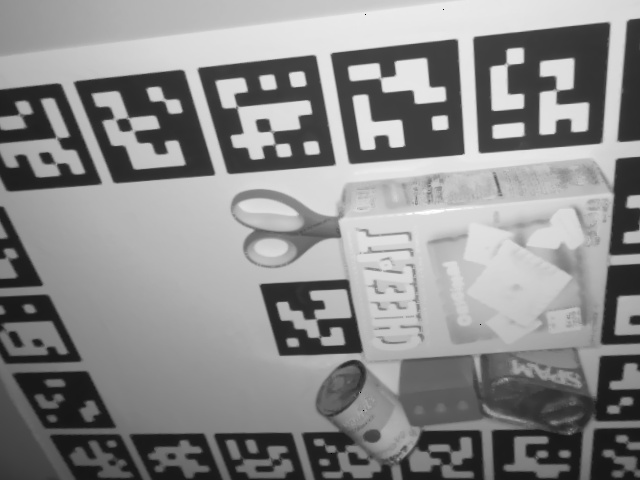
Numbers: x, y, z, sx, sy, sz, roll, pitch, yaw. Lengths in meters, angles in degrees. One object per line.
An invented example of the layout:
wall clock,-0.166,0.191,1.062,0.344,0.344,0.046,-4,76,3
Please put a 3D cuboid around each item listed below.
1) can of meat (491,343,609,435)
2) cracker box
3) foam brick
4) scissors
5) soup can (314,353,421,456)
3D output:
can of meat,0.218,0.133,0.676,0.102,0.084,0.057,11,121,2
cracker box,0.150,0.018,0.608,0.213,0.072,0.163,-8,120,8
foam brick,0.131,0.153,0.723,0.077,0.052,0.052,-11,118,14
scissors,0.037,-0.025,0.635,0.202,0.016,0.087,-6,119,11
soup can,0.053,0.178,0.747,0.067,0.068,0.102,-37,115,26
